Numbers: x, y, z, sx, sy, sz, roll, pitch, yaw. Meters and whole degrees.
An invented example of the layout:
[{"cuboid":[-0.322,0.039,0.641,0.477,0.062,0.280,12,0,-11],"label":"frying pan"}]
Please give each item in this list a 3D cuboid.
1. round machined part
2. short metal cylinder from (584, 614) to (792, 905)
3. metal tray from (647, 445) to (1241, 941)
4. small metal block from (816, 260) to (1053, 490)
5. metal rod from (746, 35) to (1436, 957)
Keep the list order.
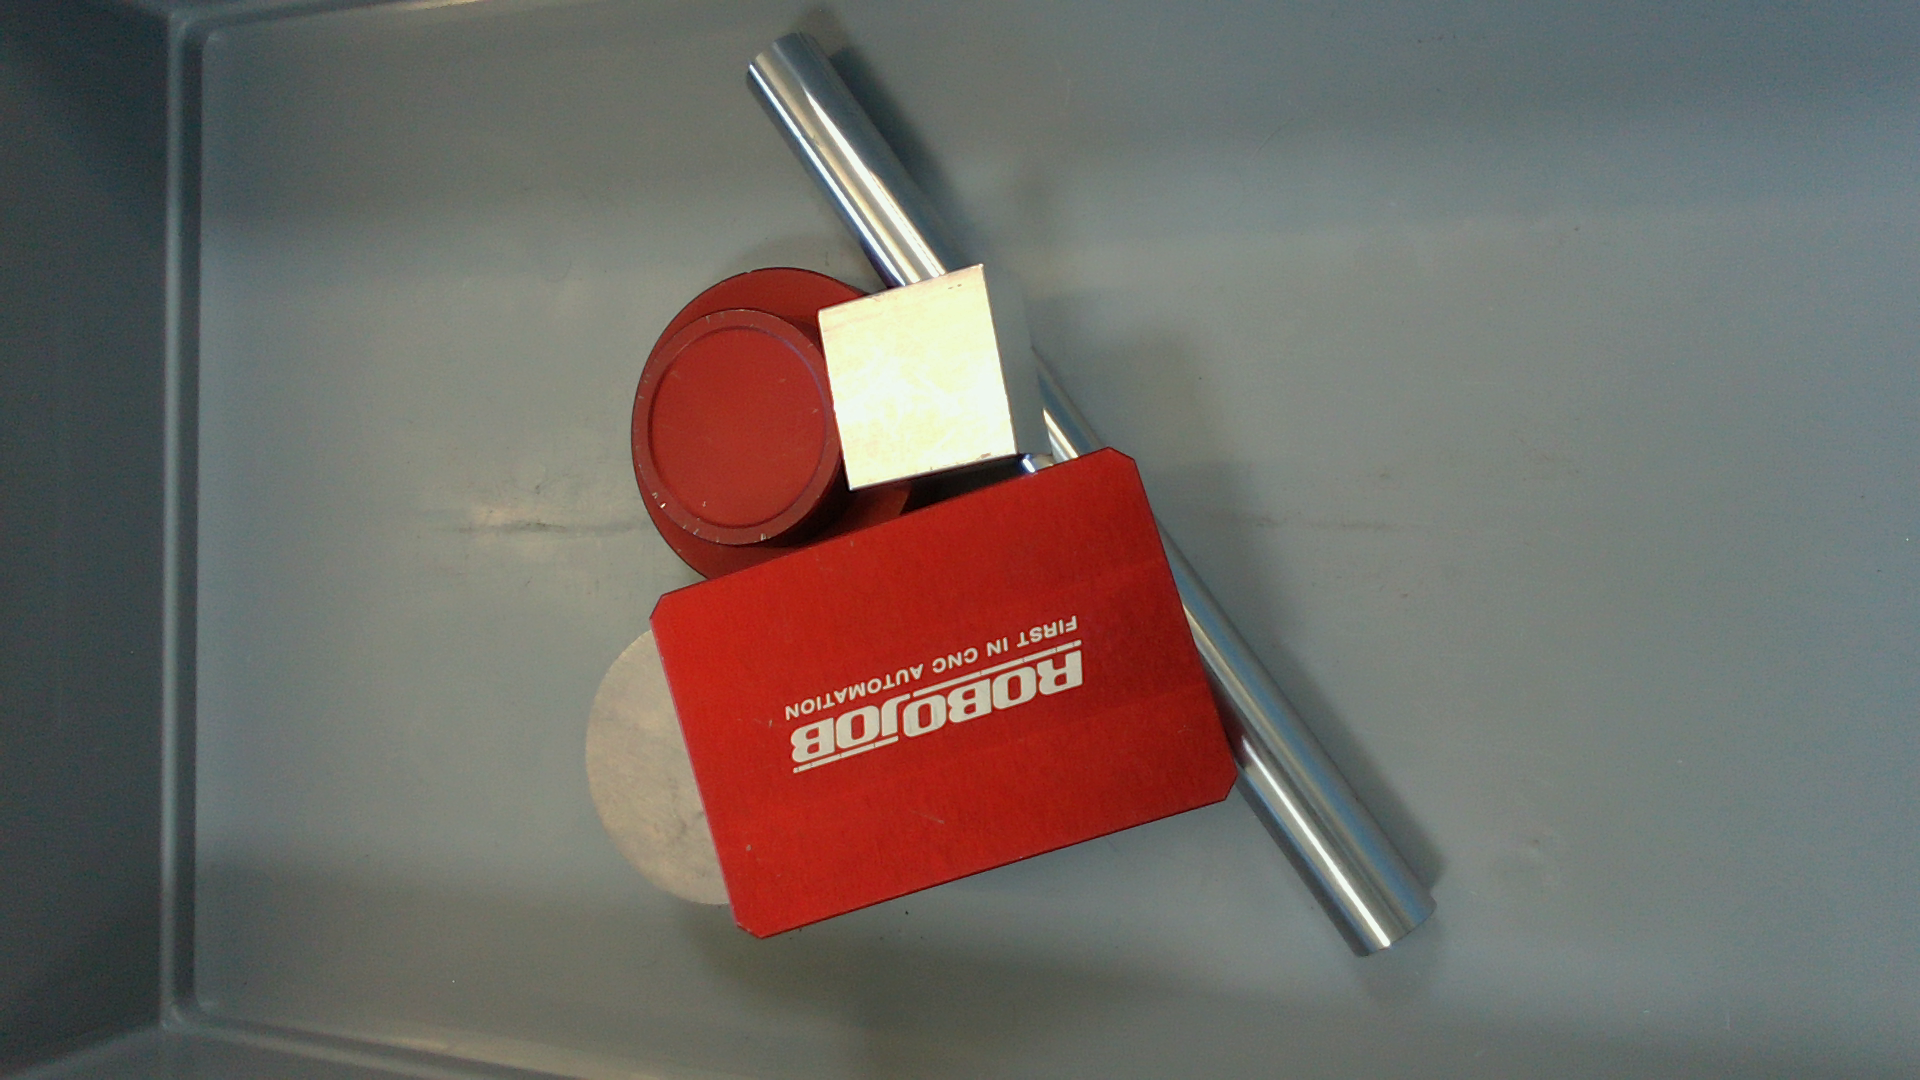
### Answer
[{"cuboid":[-0.057,-0.032,0.405,0.098,0.042,0.098,0,90,21],"label":"round machined part"},{"cuboid":[-0.061,0.061,0.403,0.080,0.050,0.080,0,90,20],"label":"short metal cylinder"},{"cuboid":[-0.004,0.039,0.353,0.130,0.030,0.090,-18,84,6],"label":"metal tray"},{"cuboid":[-0.007,-0.043,0.372,0.050,0.025,0.050,-11,89,25],"label":"small metal block"},{"cuboid":[0.029,-0.021,0.384,0.025,0.025,0.300,-38,78,16],"label":"metal rod"}]
